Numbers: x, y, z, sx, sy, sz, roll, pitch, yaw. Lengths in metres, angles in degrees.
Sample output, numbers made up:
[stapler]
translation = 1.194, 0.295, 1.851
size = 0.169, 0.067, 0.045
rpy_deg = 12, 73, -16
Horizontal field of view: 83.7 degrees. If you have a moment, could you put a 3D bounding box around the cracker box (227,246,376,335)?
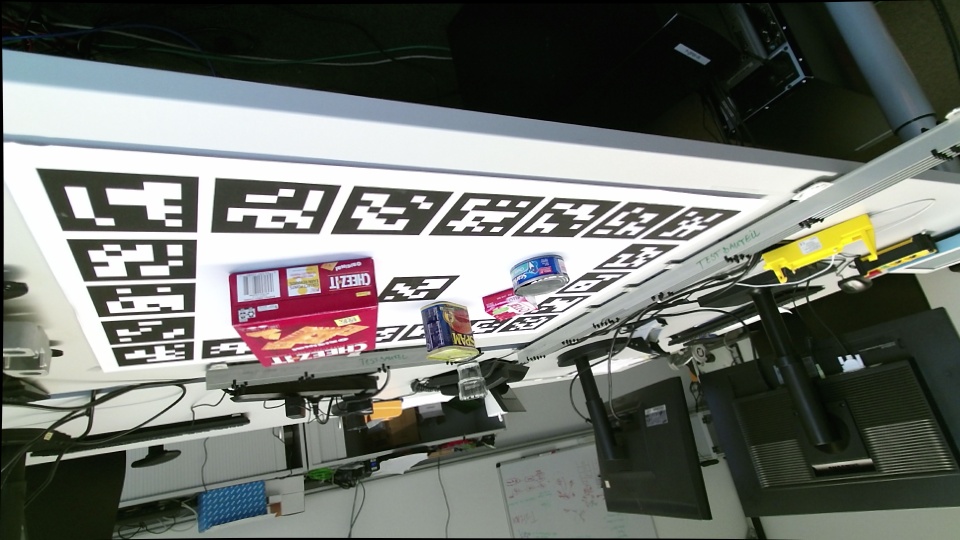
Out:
[cracker box]
translation = -0.224, 0.045, 0.714
size = 0.165, 0.071, 0.214
rpy_deg = -6, 159, -14

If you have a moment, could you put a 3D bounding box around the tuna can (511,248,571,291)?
[tuna can]
translation = 0.092, 0.000, 0.812
size = 0.086, 0.033, 0.086
rpy_deg = -13, 157, -6

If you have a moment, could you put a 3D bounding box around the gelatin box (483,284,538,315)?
[gelatin box]
translation = 0.055, 0.056, 0.943
size = 0.073, 0.030, 0.089
rpy_deg = -16, 156, 16

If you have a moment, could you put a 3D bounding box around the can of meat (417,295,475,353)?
[can of meat]
translation = -0.060, 0.092, 0.917
size = 0.058, 0.083, 0.102
rpy_deg = -23, 158, 26
